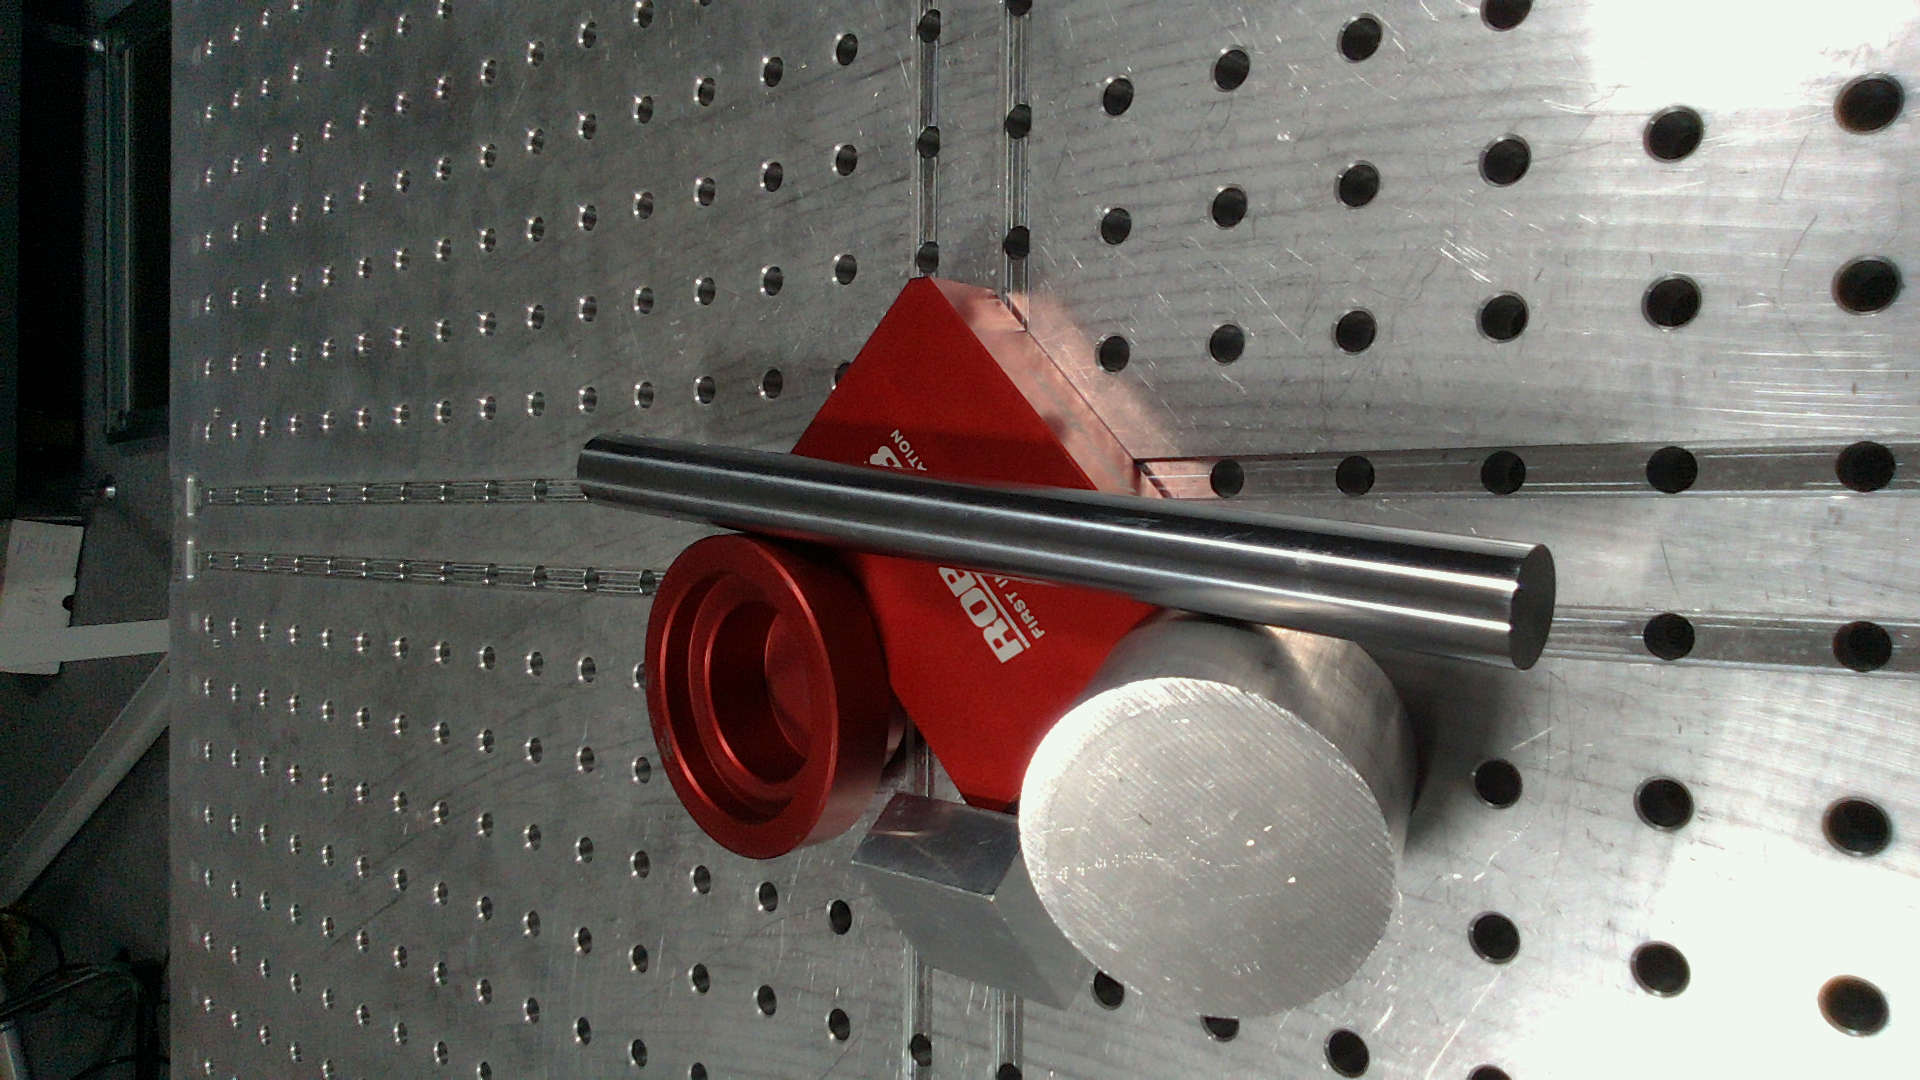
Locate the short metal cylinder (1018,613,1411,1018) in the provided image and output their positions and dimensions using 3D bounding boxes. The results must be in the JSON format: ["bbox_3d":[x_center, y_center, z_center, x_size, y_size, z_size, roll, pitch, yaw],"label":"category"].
[{"bbox_3d":[0.059,0.058,0.312,0.080,0.050,0.080,7,111,20],"label":"short metal cylinder"}]

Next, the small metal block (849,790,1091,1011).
[{"bbox_3d":[0.006,0.098,0.376,0.050,0.025,0.050,3,135,40],"label":"small metal block"}]

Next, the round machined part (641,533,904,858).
[{"bbox_3d":[-0.055,0.045,0.426,0.098,0.042,0.098,9,102,44],"label":"round machined part"}]

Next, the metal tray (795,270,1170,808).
[{"bbox_3d":[0.008,-0.001,0.389,0.090,0.030,0.130,-51,60,28],"label":"metal tray"}]

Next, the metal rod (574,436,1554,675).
[{"bbox_3d":[-0.004,-0.005,0.360,0.299,0.025,0.025,9,96,40],"label":"metal rod"}]
